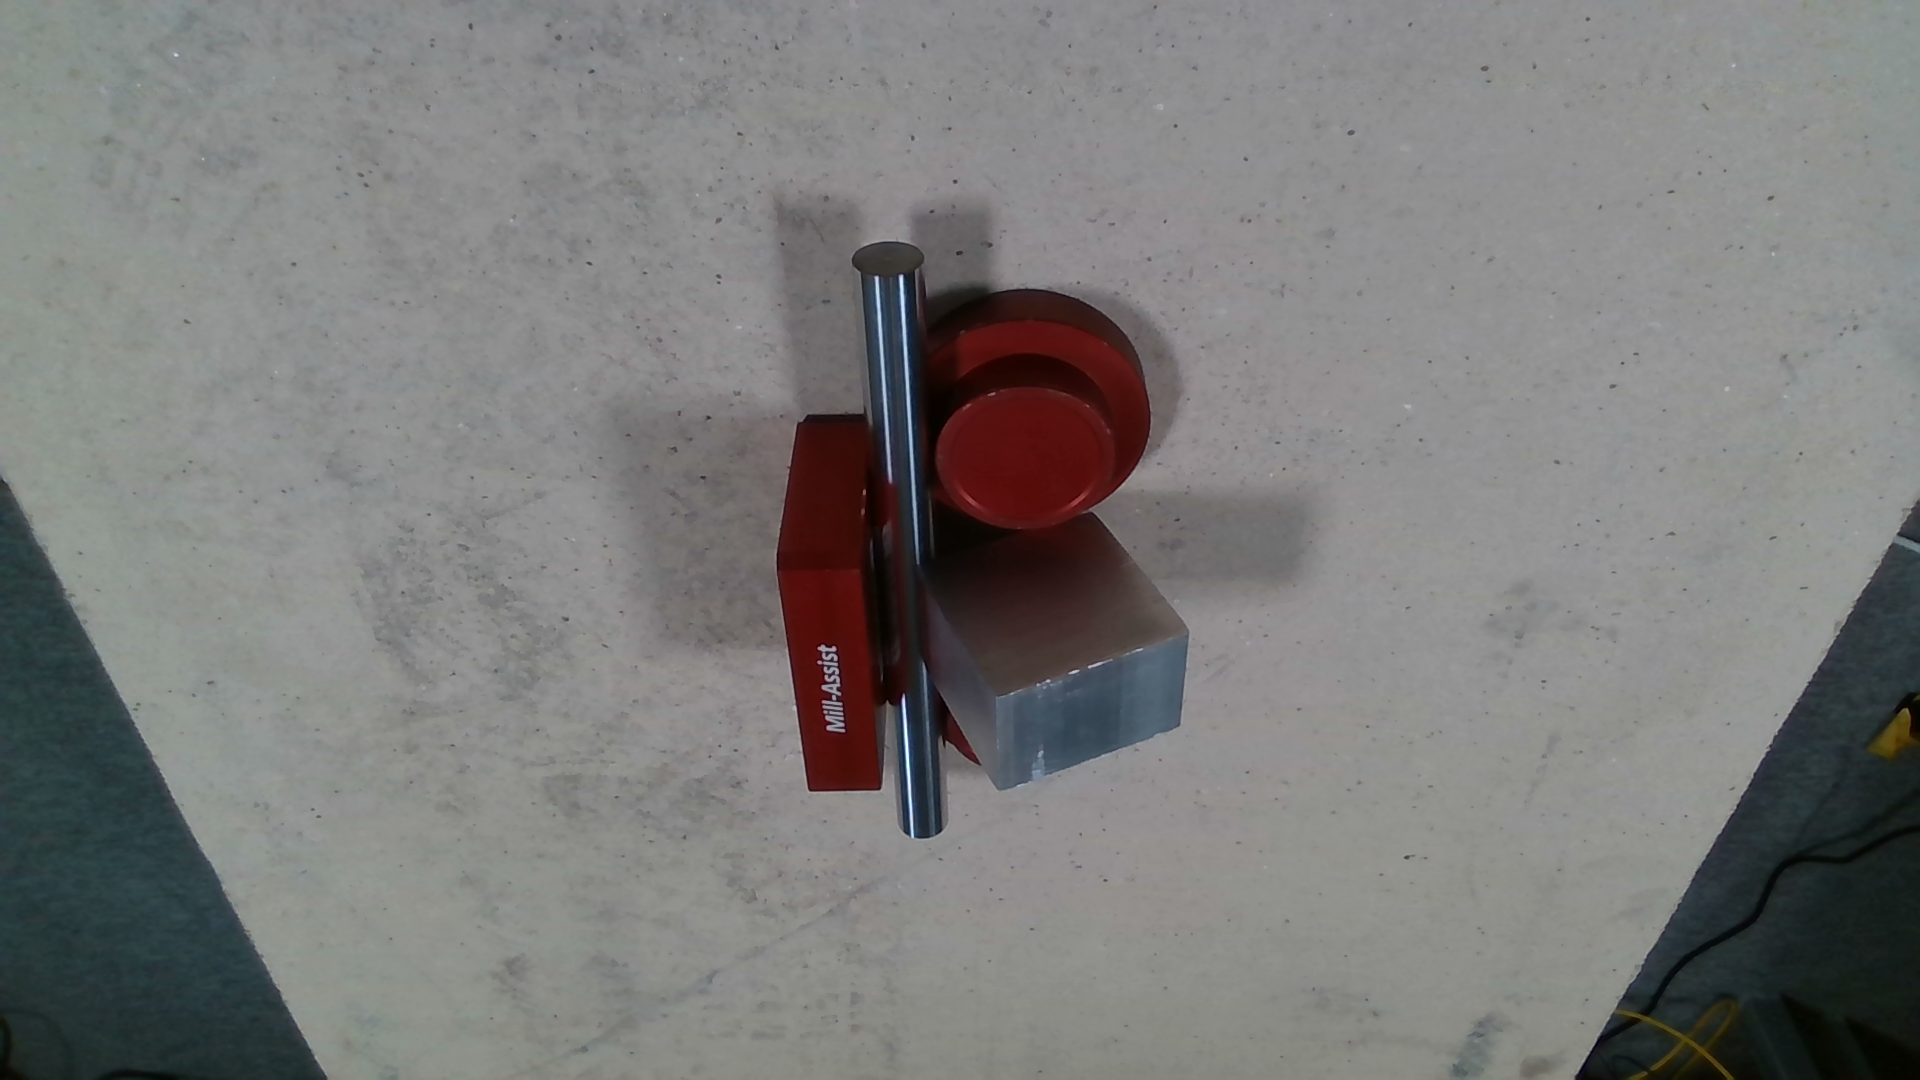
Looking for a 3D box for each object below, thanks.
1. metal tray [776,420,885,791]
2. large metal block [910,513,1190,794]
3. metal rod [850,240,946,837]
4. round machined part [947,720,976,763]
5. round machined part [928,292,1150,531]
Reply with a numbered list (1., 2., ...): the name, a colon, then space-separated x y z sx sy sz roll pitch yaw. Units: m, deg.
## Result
1. metal tray: -0.049 0.028 0.560 0.030 0.090 0.130 -1 130 1
2. large metal block: 0.034 0.042 0.544 0.080 0.080 0.050 -17 133 -16
3. metal rod: -0.022 0.018 0.568 0.025 0.025 0.301 -1 130 1
4. round machined part: 0.028 0.069 0.625 0.098 0.042 0.098 0 130 0
5. round machined part: 0.024 -0.042 0.530 0.098 0.042 0.098 0 130 0
